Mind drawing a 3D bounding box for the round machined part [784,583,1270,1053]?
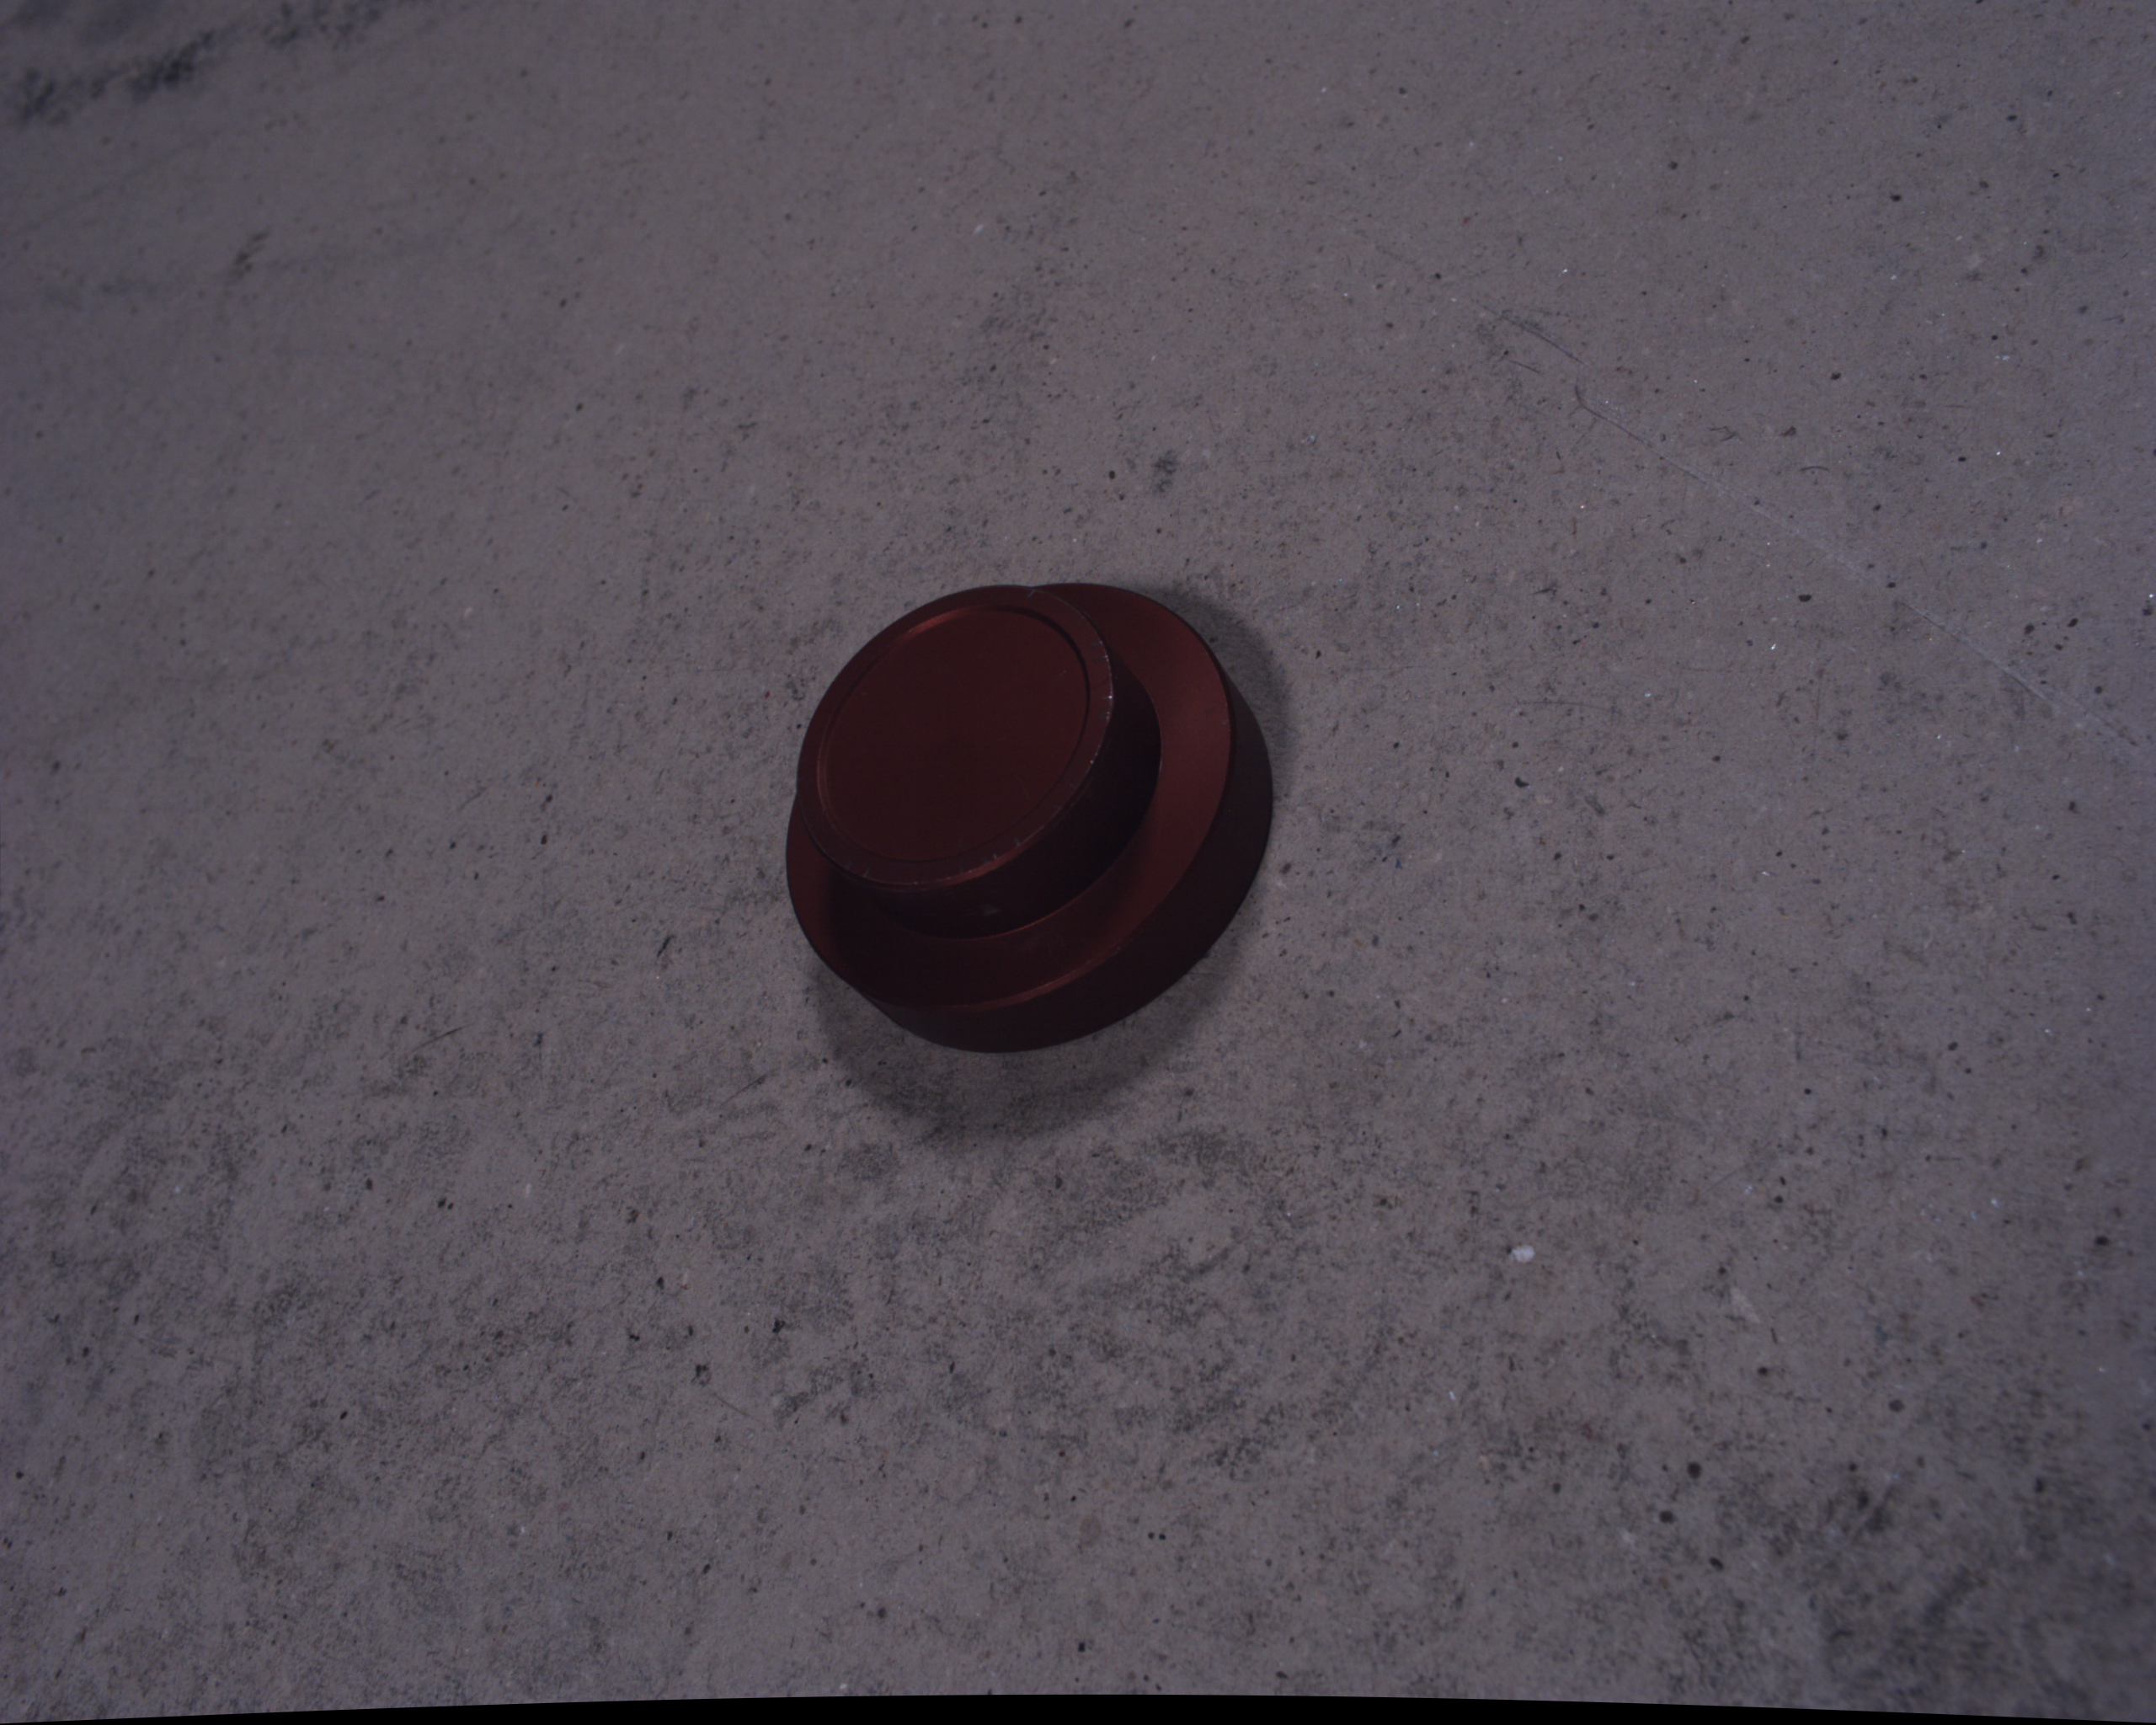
[{"bbox_3d":[-0.016,-0.015,0.410,0.098,0.042,0.098,-13,56,20],"label":"round machined part"}]
